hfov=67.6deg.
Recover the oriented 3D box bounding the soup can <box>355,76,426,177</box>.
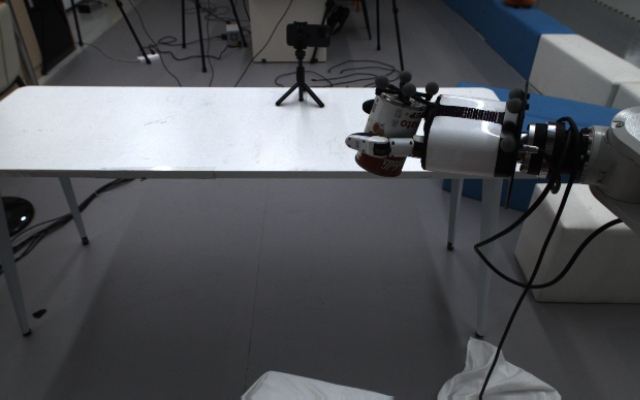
[{"bbox_3d":[0.094,-0.091,0.644,0.067,0.101,0.067,13,30,-8],"label":"soup can"}]
